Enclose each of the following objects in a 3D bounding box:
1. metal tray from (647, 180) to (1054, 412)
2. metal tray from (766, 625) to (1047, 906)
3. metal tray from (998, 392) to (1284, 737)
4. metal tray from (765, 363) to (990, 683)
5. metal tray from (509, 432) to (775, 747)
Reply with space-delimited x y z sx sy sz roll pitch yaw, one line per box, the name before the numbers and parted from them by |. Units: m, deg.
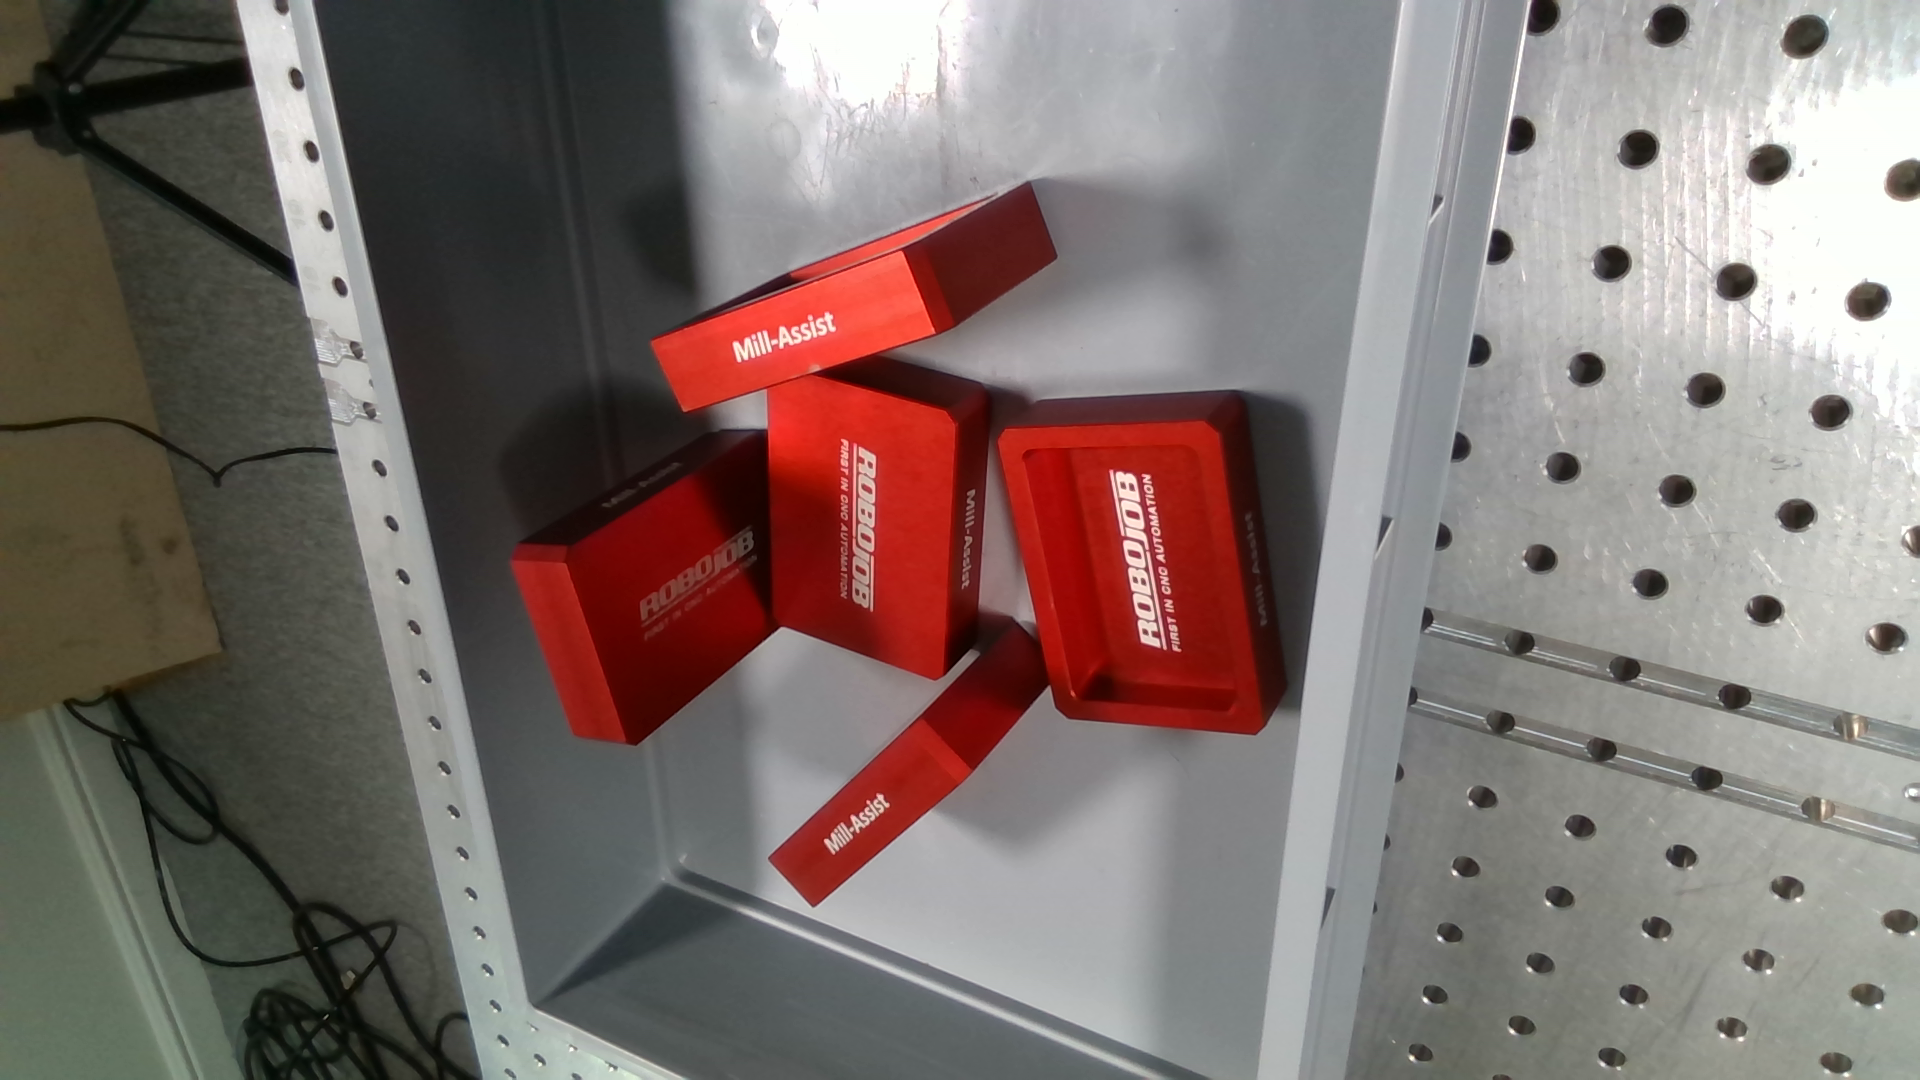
metal tray | -0.041 -0.090 0.512 0.130 0.090 0.030 -11 110 36
metal tray | -0.022 0.099 0.603 0.030 0.090 0.130 46 129 3
metal tray | 0.072 0.010 0.536 0.090 0.030 0.130 1 116 31
metal tray | -0.037 -0.011 0.590 0.090 0.030 0.130 17 123 23
metal tray | -0.125 0.017 0.595 0.030 0.130 0.090 2 117 31
